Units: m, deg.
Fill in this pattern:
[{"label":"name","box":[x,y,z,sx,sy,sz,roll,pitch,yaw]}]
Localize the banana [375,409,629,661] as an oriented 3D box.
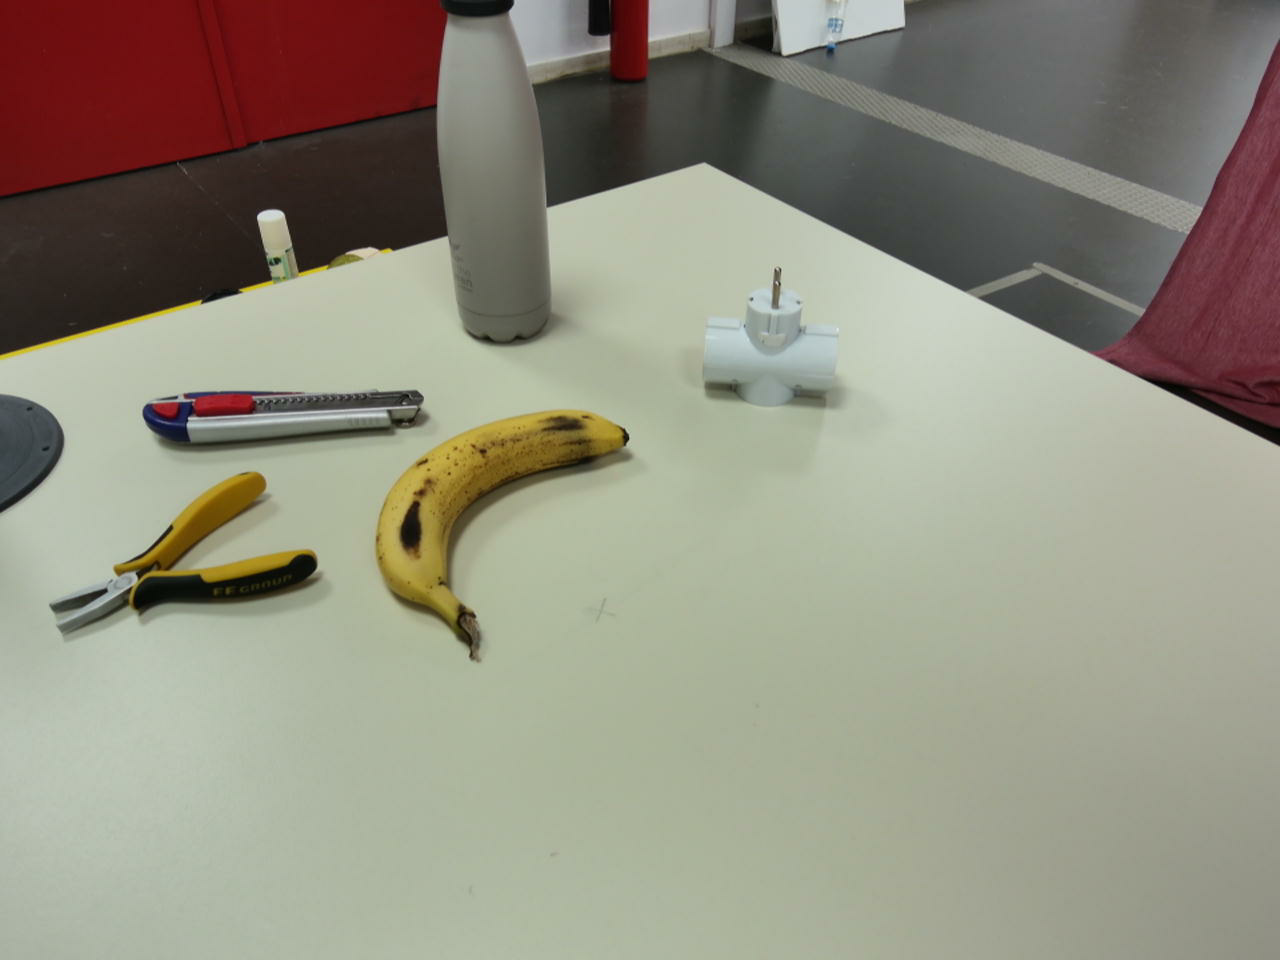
[{"label":"banana","box":[-0.086,0.009,0.578,0.097,0.038,0.186,16,41,19]}]
